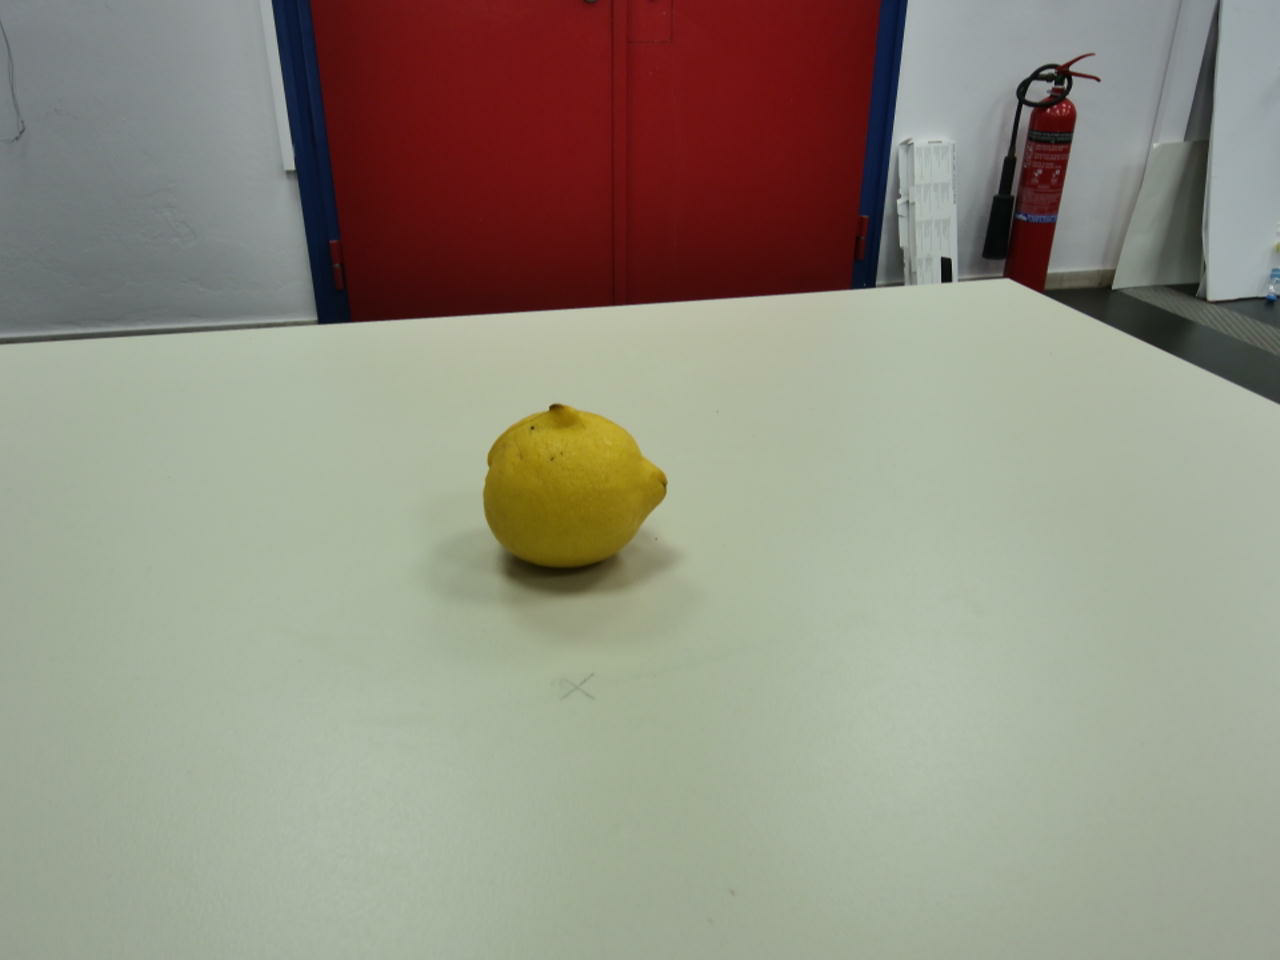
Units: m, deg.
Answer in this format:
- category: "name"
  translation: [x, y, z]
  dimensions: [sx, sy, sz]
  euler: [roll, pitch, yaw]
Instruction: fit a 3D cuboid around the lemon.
- category: "lemon"
  translation: [-0.031, 0.000, 0.423]
  dimensions: [0.071, 0.071, 0.070]
  euler: [20, 32, 38]
